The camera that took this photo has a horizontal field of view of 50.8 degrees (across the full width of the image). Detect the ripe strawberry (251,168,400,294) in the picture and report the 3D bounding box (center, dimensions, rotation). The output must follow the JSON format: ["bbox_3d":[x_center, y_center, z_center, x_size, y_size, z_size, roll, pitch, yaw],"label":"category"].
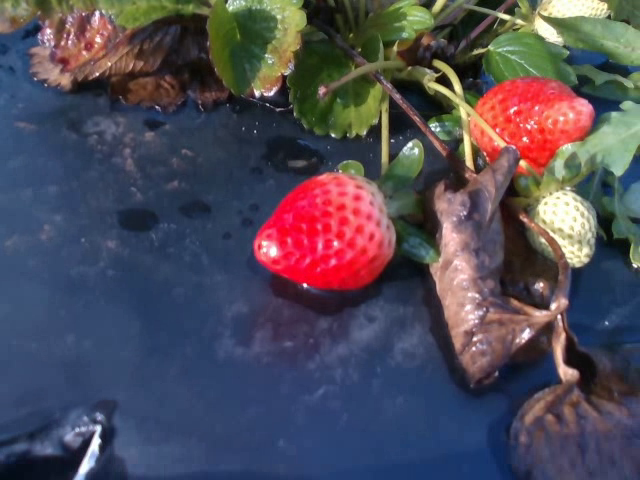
[{"bbox_3d":[0.000,-0.002,0.167,0.043,0.030,0.035,-25,48,-34],"label":"ripe strawberry"}]

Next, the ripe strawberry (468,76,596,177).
[{"bbox_3d":[0.070,-0.040,0.211,0.039,0.032,0.048,-10,0,-15],"label":"ripe strawberry"}]
